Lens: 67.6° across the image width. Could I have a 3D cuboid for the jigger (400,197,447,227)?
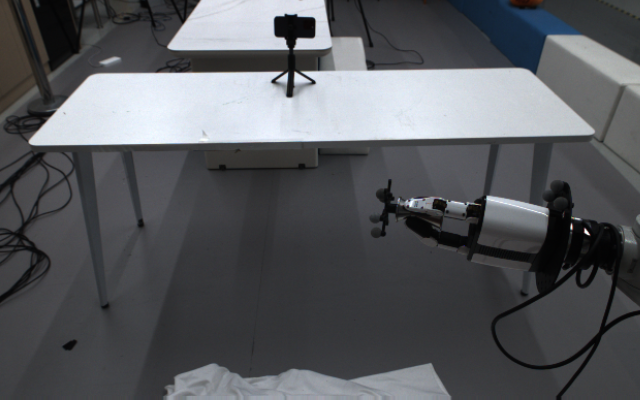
[{"bbox_3d":[0.156,0.013,0.721,0.071,0.043,0.043,7,35,15],"label":"jigger"}]
